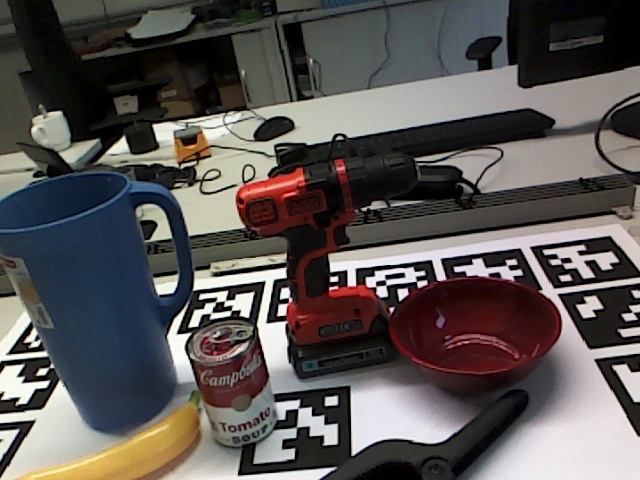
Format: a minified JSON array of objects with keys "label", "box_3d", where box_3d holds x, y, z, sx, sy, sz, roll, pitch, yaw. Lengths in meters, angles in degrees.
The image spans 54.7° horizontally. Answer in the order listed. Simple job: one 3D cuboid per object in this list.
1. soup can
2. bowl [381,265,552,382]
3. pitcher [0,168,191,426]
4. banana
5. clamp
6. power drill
[{"label":"soup can","box_3d":[-0.083,0.126,0.586,0.068,0.102,0.068,-10,19,3]},{"label":"bowl","box_3d":[0.144,0.090,0.614,0.162,0.055,0.162,-9,29,5]},{"label":"pitcher","box_3d":[-0.215,0.055,0.618,0.188,0.242,0.134,-21,25,-18]},{"label":"banana","box_3d":[-0.198,0.198,0.565,0.196,0.039,0.075,-20,20,-20]},{"label":"clamp","box_3d":[0.089,0.175,0.479,0.203,0.036,0.166,-11,31,2]},{"label":"power drill","box_3d":[0.021,0.007,0.636,0.184,0.186,0.057,-11,27,-1]}]
